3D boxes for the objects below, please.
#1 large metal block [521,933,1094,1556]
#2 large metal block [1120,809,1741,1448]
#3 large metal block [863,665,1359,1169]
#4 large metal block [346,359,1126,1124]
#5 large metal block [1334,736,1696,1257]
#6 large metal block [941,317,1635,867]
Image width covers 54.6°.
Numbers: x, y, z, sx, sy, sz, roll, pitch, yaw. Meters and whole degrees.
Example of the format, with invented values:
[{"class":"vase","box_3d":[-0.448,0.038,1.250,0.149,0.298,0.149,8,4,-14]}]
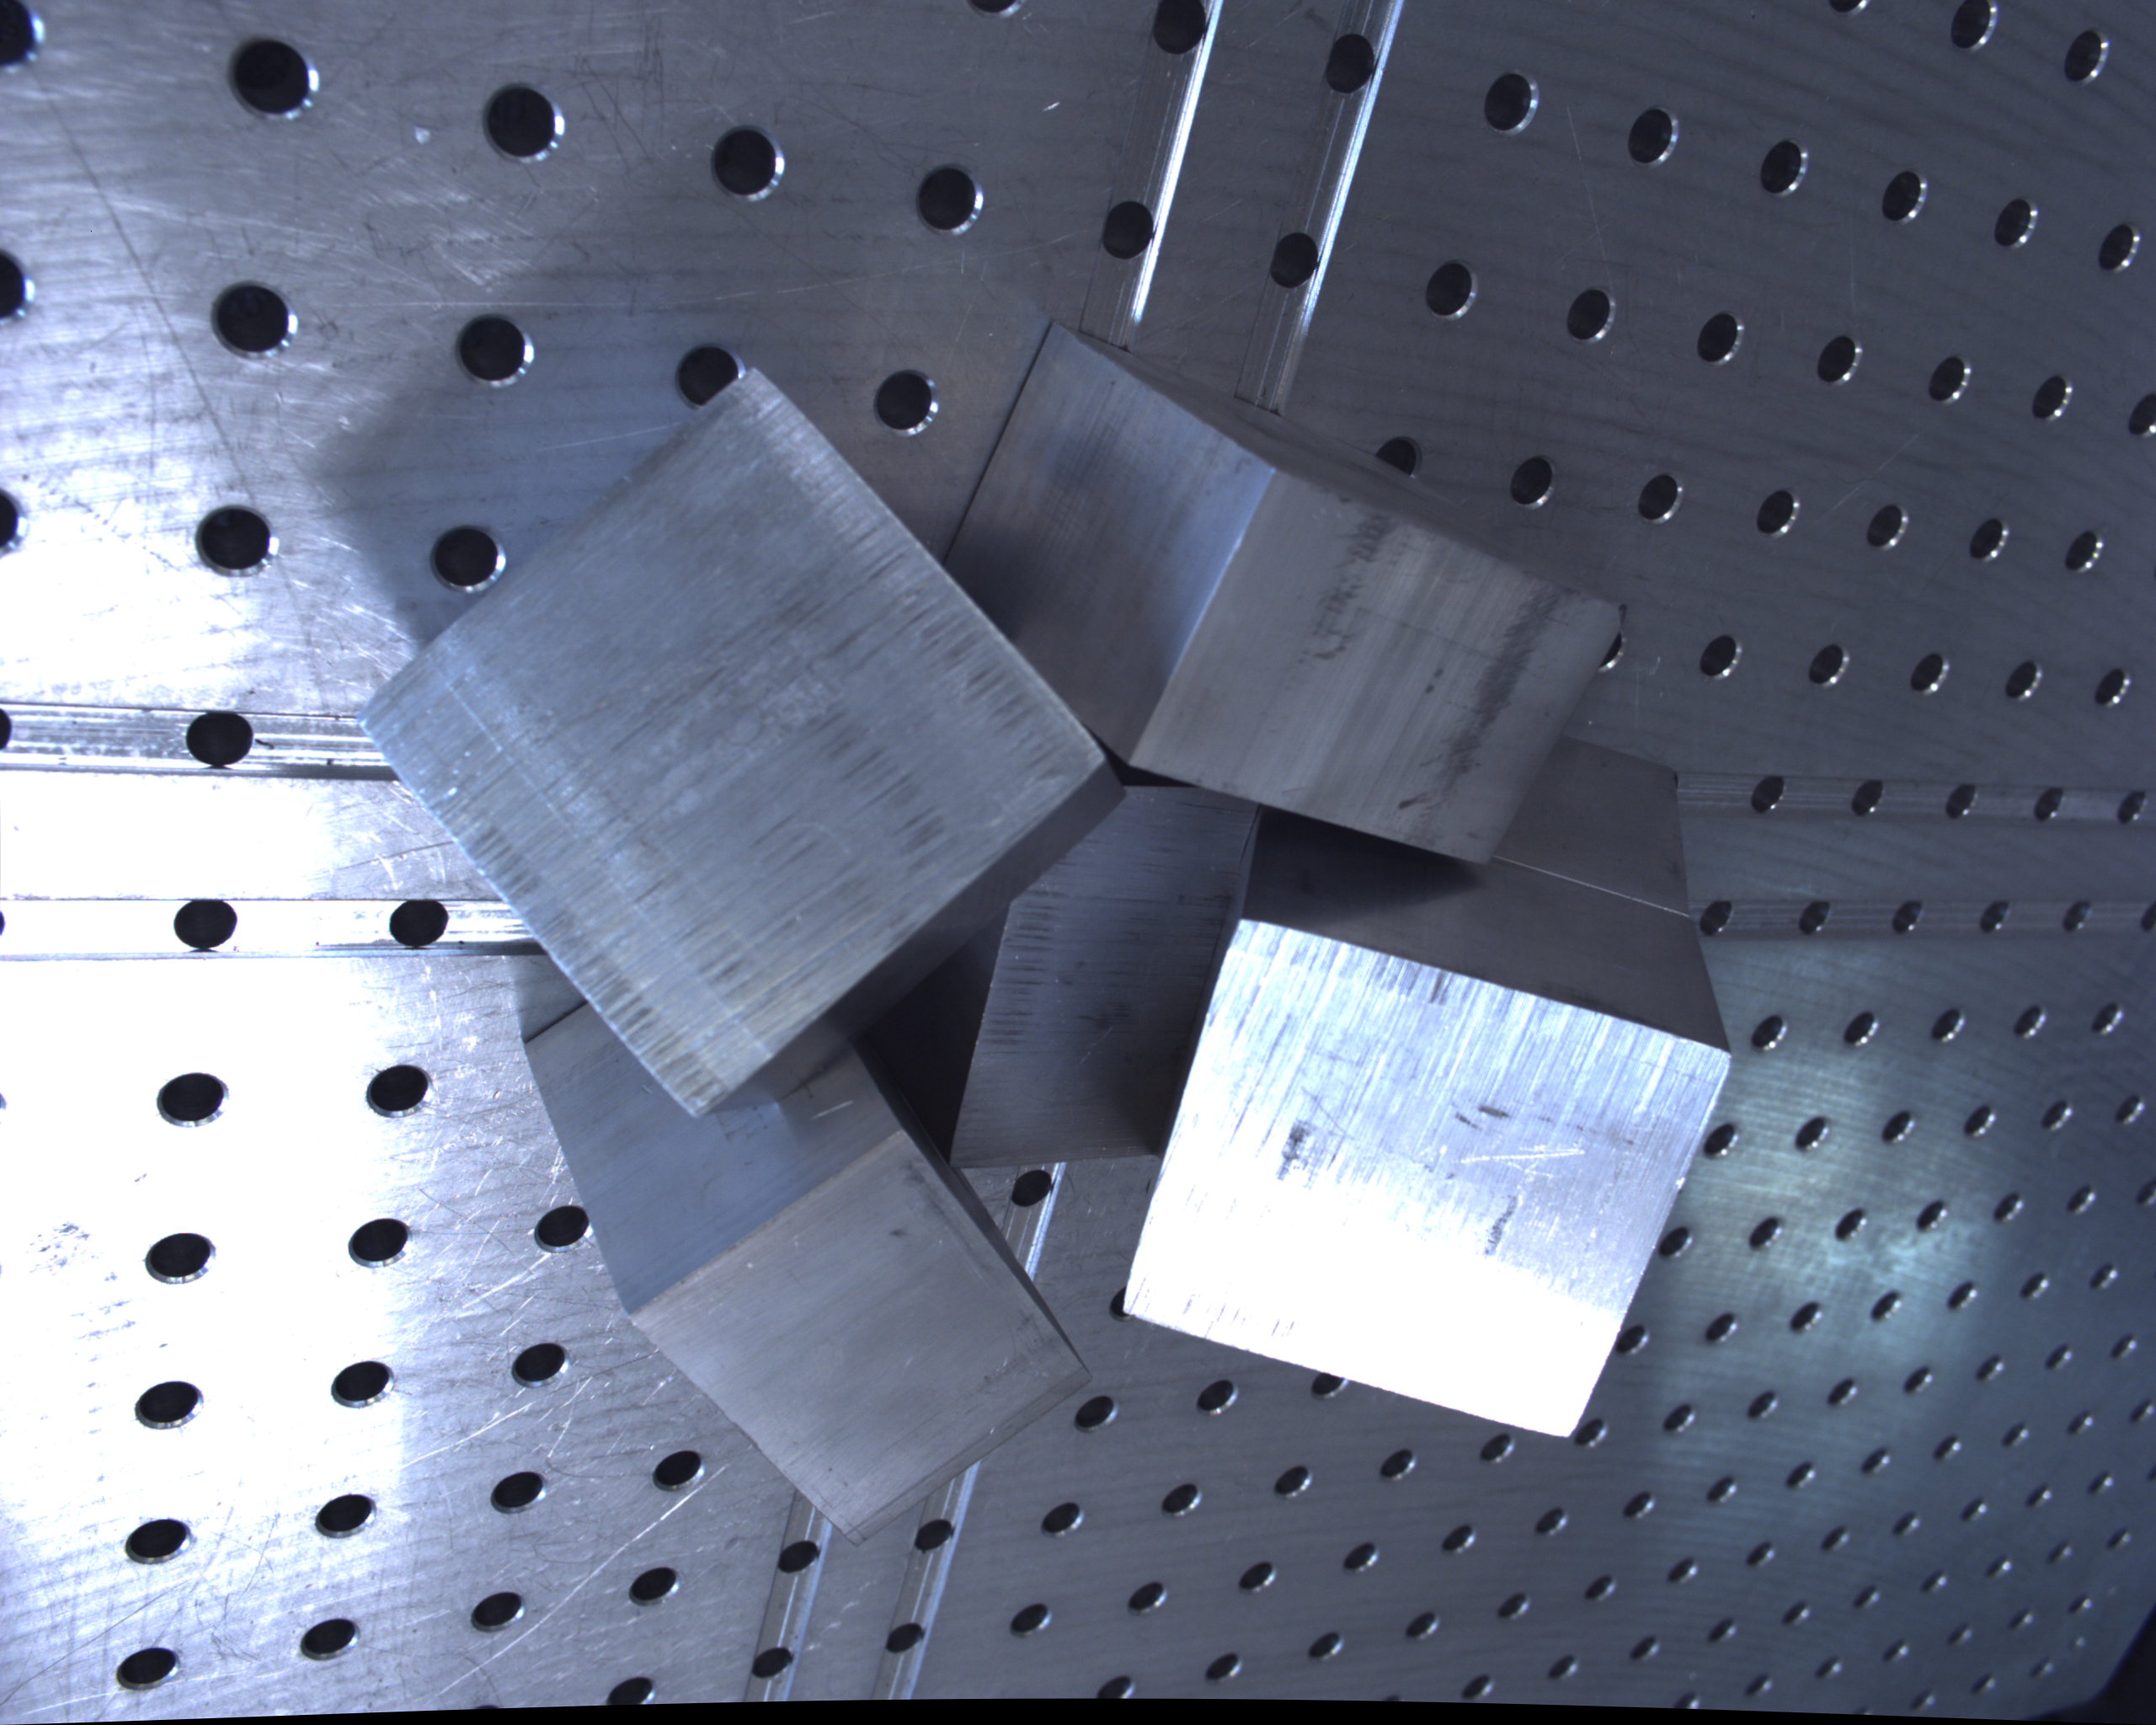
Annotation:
[{"class":"large metal block","box_3d":[-0.051,0.066,0.386,0.050,0.080,0.080,-35,130,-6]},{"class":"large metal block","box_3d":[0.059,0.044,0.364,0.080,0.050,0.079,15,114,2]},{"class":"large metal block","box_3d":[0.009,0.010,0.405,0.081,0.050,0.079,1,118,-29]},{"class":"large metal block","box_3d":[-0.050,-0.017,0.329,0.080,0.080,0.050,-42,174,0]},{"class":"large metal block","box_3d":[0.085,0.022,0.424,0.050,0.080,0.079,17,114,6]},{"class":"large metal block","box_3d":[0.033,-0.047,0.364,0.081,0.080,0.050,14,111,-34]}]
